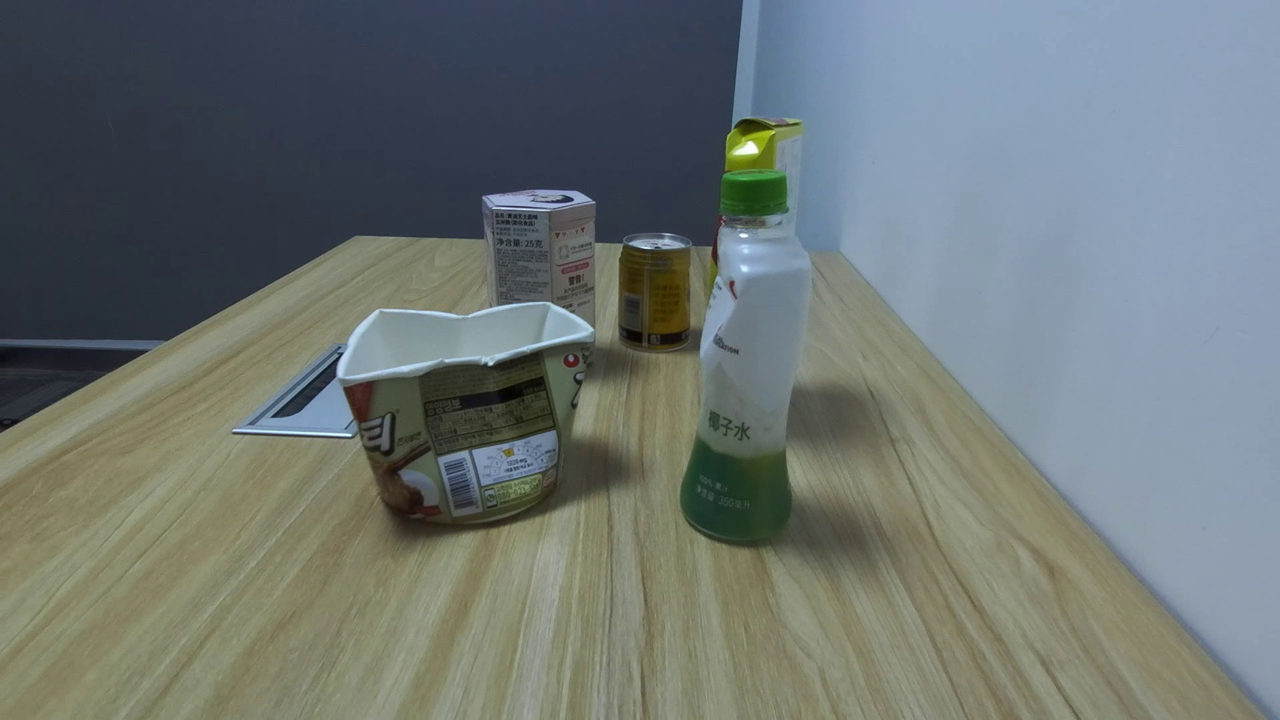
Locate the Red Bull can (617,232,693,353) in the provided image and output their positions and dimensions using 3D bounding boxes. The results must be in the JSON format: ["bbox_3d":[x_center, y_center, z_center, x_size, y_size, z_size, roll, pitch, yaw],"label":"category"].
[{"bbox_3d":[0.015,-0.061,0.657,0.068,0.093,0.068,1,18,0],"label":"Red Bull can"}]

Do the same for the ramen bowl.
[{"bbox_3d":[-0.094,0.025,0.412,0.128,0.093,0.111,-4,24,-12],"label":"ramen bowl"}]

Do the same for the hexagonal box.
[{"bbox_3d":[-0.080,-0.063,0.570,0.083,0.136,0.091,20,30,36],"label":"hexagonal box"}]

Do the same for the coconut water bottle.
[{"bbox_3d":[0.055,-0.001,0.361,0.069,0.187,0.069,1,24,0],"label":"coconut water bottle"}]
